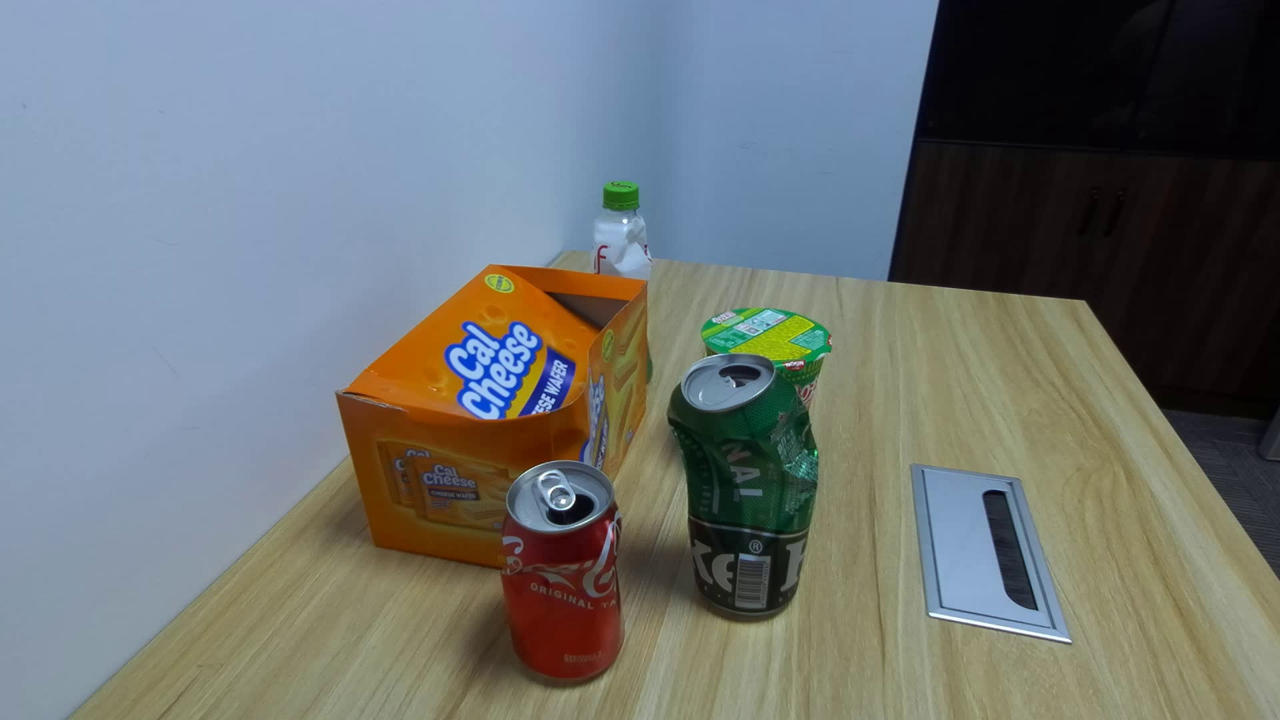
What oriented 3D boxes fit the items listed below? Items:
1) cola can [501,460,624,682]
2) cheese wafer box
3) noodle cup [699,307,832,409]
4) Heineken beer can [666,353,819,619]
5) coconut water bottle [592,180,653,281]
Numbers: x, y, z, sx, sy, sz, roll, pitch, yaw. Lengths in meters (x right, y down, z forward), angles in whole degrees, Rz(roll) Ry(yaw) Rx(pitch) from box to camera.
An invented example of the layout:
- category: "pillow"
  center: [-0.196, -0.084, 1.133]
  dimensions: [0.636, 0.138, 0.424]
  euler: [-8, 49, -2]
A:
- category: "cola can"
  center: [-0.042, 0.115, 0.390]
  dimensions: [0.066, 0.117, 0.066]
  euler: [3, 30, 5]
- category: "cheese wafer box"
  center: [-0.087, 0.034, 0.531]
  dimensions: [0.152, 0.132, 0.230]
  euler: [8, 29, 12]
- category: "noodle cup"
  center: [0.092, 0.030, 0.551]
  dimensions: [0.097, 0.110, 0.097]
  euler: [3, 24, -1]
- category: "Heineken beer can"
  center: [0.065, 0.076, 0.422]
  dimensions: [0.079, 0.159, 0.067]
  euler: [-11, 26, -6]
- category: "coconut water bottle"
  center: [-0.016, -0.067, 0.642]
  dimensions: [0.069, 0.186, 0.069]
  euler: [2, 23, 0]
